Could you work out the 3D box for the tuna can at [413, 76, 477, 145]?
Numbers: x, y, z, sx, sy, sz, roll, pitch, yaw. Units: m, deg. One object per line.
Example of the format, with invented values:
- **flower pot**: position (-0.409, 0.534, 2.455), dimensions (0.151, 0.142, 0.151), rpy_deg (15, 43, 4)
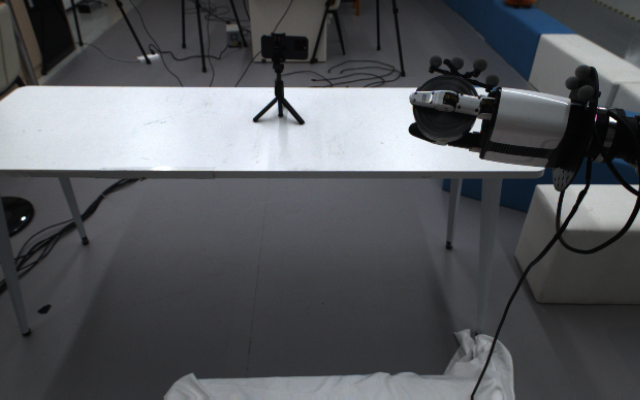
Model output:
- **tuna can**: position (0.169, -0.125, 0.653), dimensions (0.085, 0.085, 0.034), rpy_deg (13, -5, 16)
